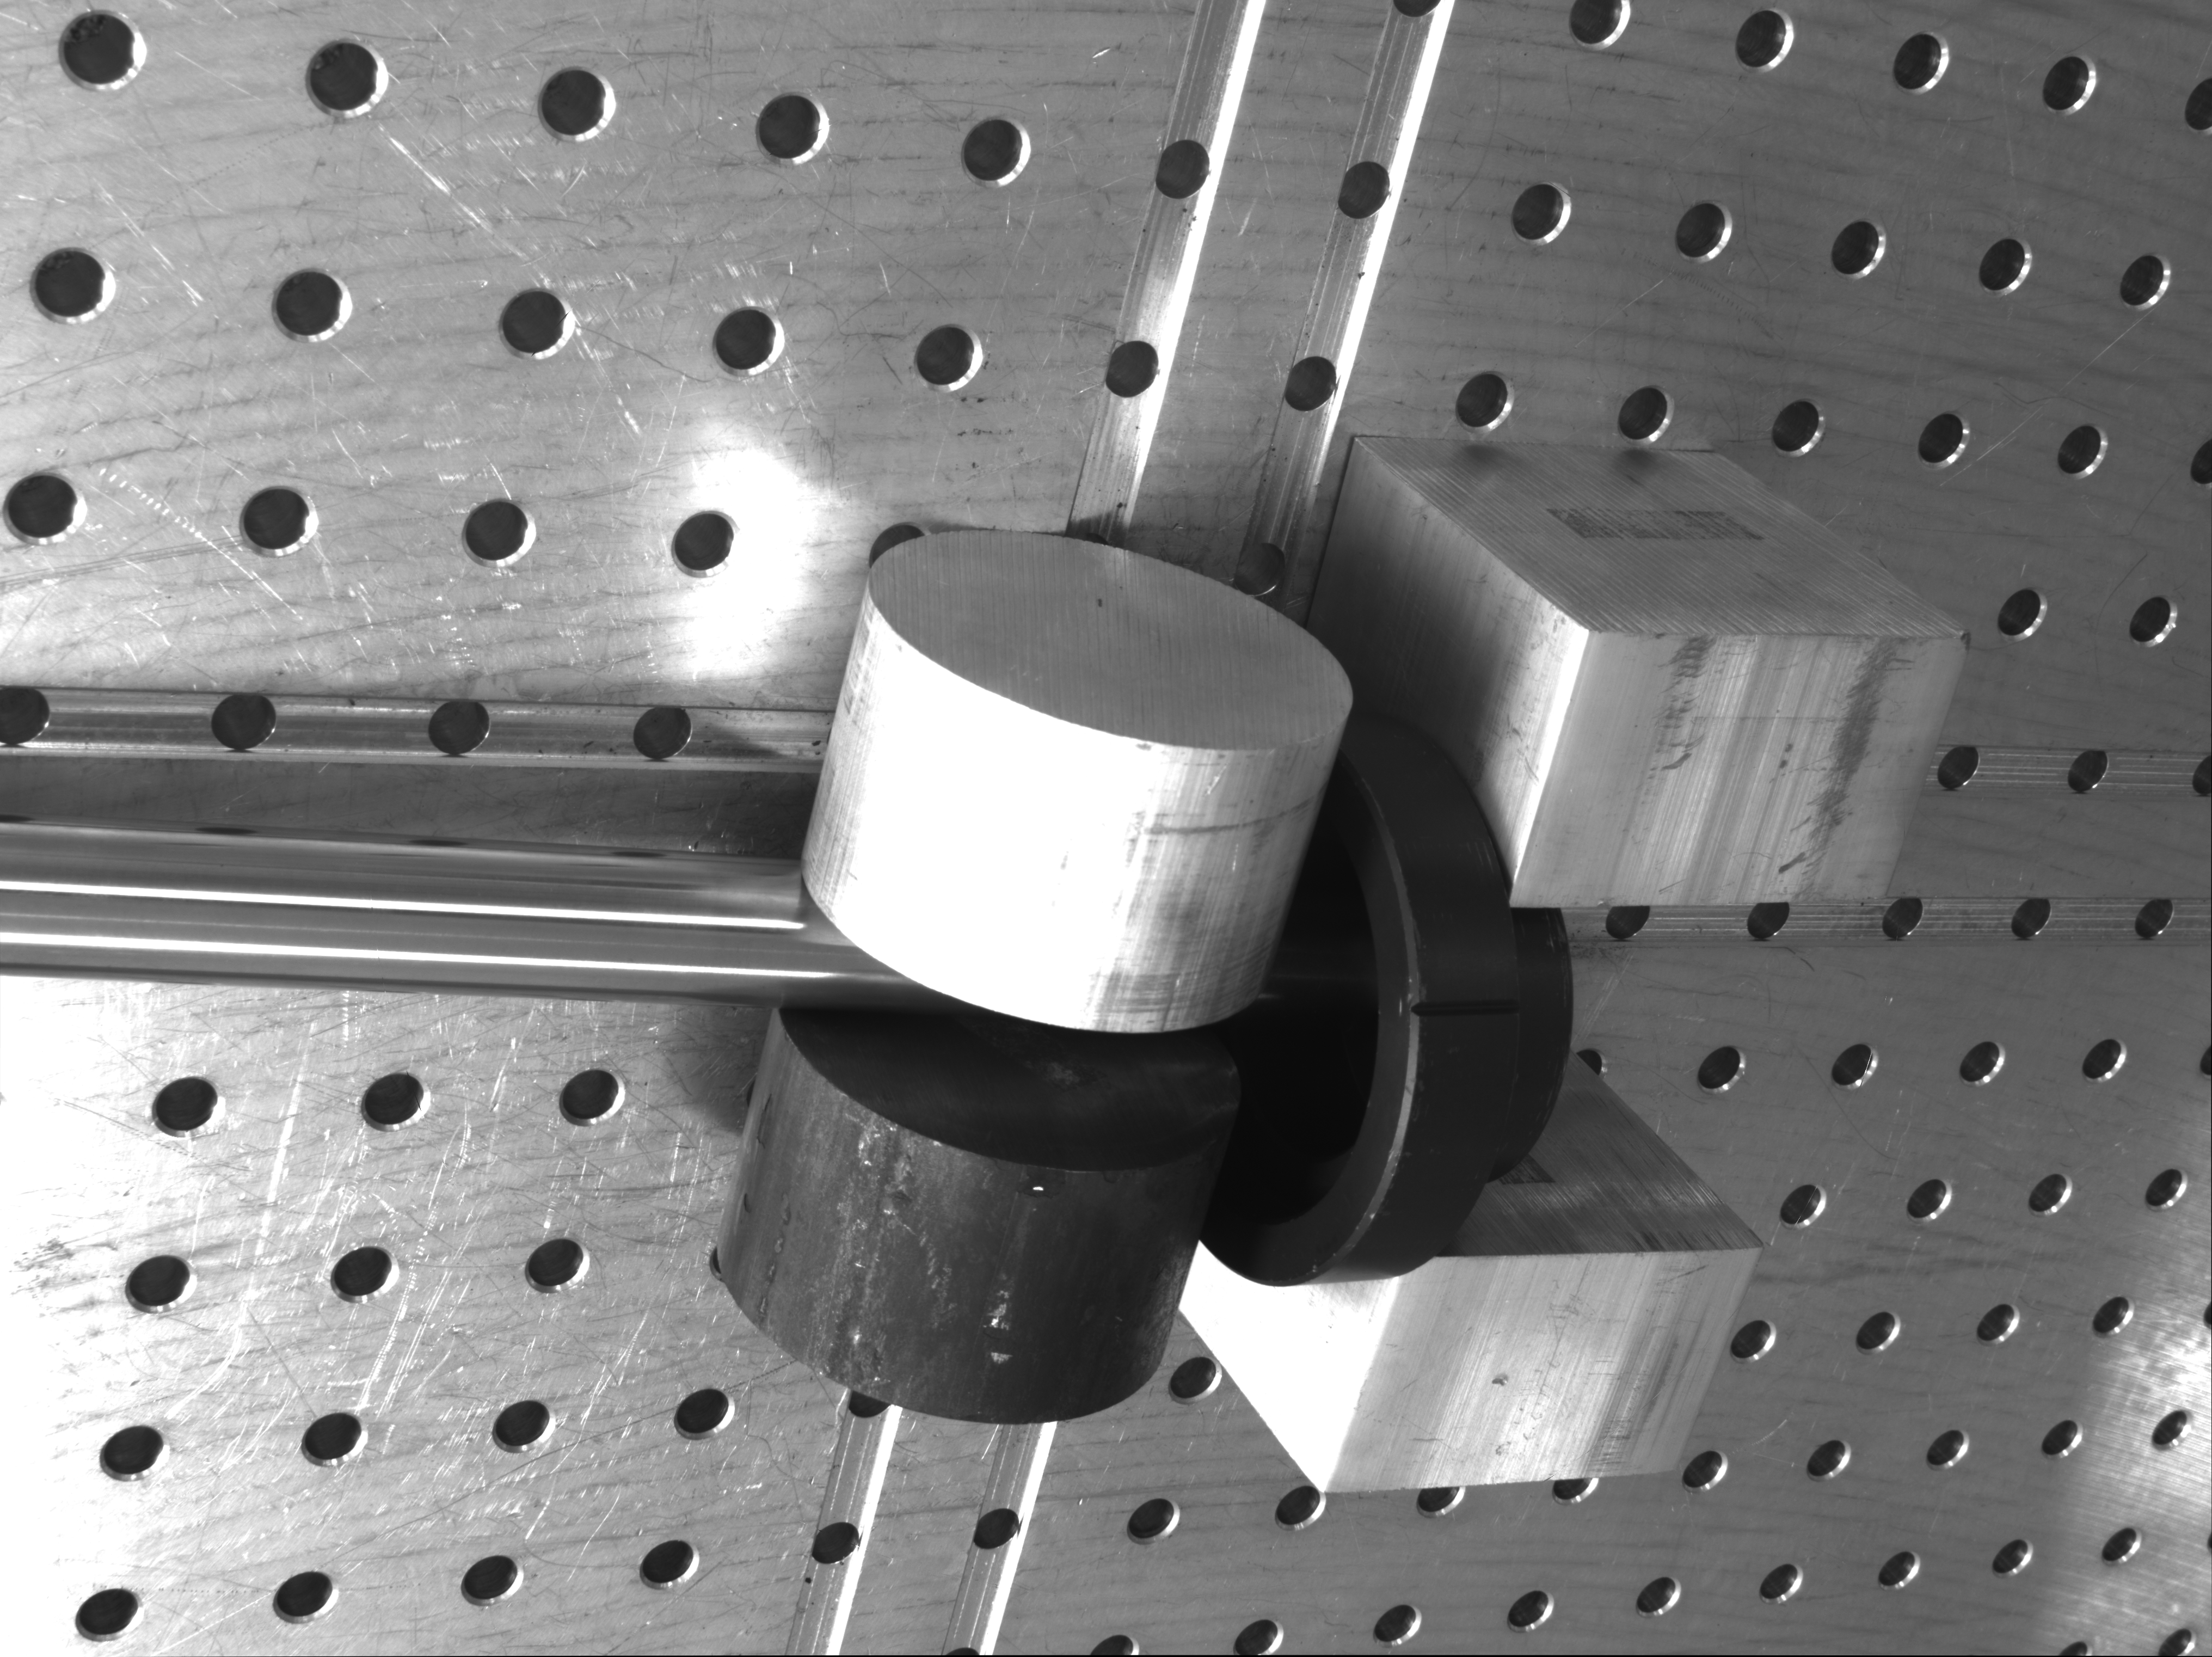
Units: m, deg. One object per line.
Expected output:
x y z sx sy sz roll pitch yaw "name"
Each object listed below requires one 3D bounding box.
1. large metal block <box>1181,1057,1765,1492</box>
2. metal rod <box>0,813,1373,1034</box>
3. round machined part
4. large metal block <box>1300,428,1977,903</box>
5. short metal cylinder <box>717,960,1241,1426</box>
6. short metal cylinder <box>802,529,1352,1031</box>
0.061 0.077 0.686 0.080 0.080 0.050 3 117 -29 "large metal block"
-0.092 0.015 0.585 0.301 0.025 0.025 4 116 -25 "metal rod"
0.045 0.029 0.634 0.042 0.098 0.098 1 118 -28 "round machined part"
0.088 -0.029 0.636 0.080 0.080 0.050 0 118 -28 "large metal block"
-0.022 0.058 0.627 0.080 0.080 0.050 1 118 -29 "short metal cylinder"
-0.005 -0.009 0.597 0.080 0.080 0.050 1 118 -28 "short metal cylinder"
